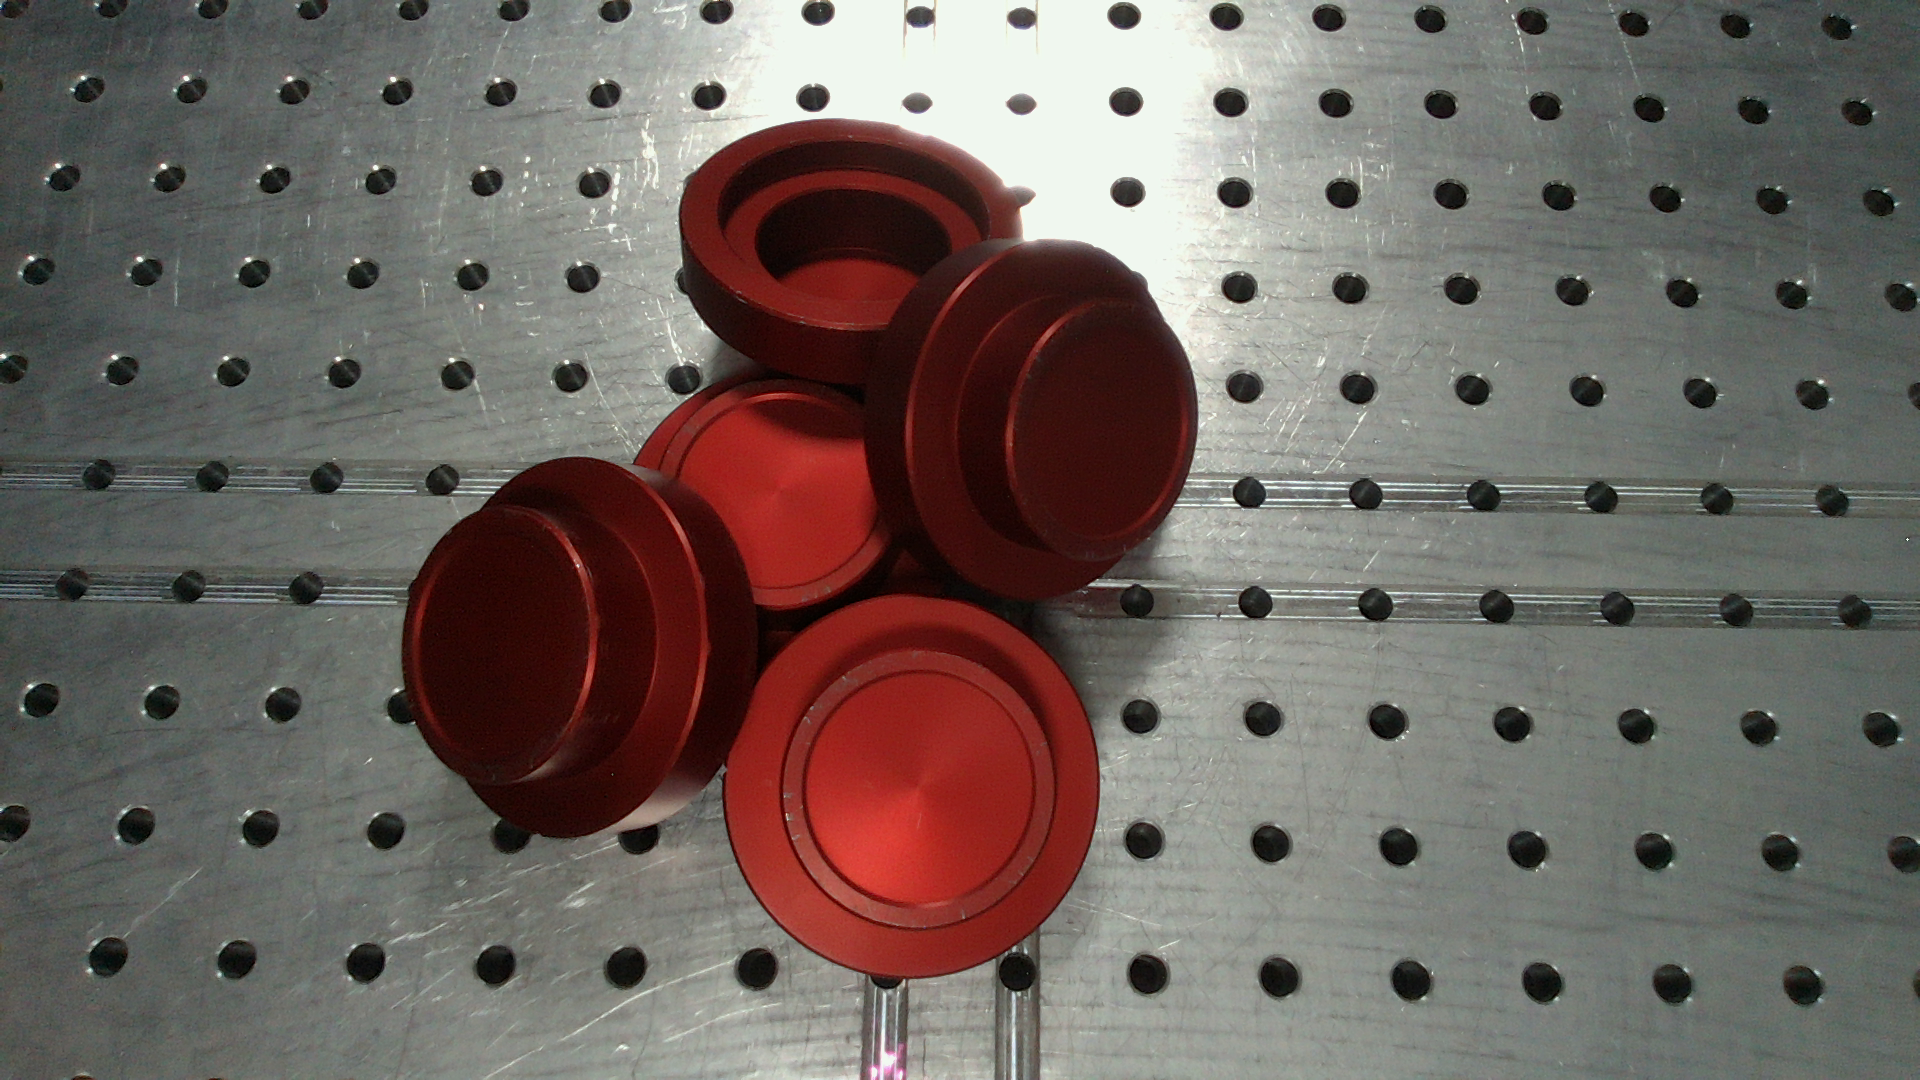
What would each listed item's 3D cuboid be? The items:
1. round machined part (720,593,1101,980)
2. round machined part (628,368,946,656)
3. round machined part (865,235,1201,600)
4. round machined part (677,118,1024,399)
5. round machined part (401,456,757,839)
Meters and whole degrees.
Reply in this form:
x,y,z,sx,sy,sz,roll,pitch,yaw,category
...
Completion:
x,y,z,sx,sy,sz,roll,pitch,yaw,category
-0.012,0.062,0.352,0.098,0.042,0.098,1,81,-6,round machined part
-0.050,-0.007,0.389,0.098,0.042,0.098,0,70,0,round machined part
0.026,-0.032,0.368,0.042,0.098,0.098,15,64,50,round machined part
-0.032,-0.079,0.405,0.098,0.042,0.098,3,49,-4,round machined part
-0.103,0.027,0.353,0.098,0.042,0.098,-3,83,30,round machined part
